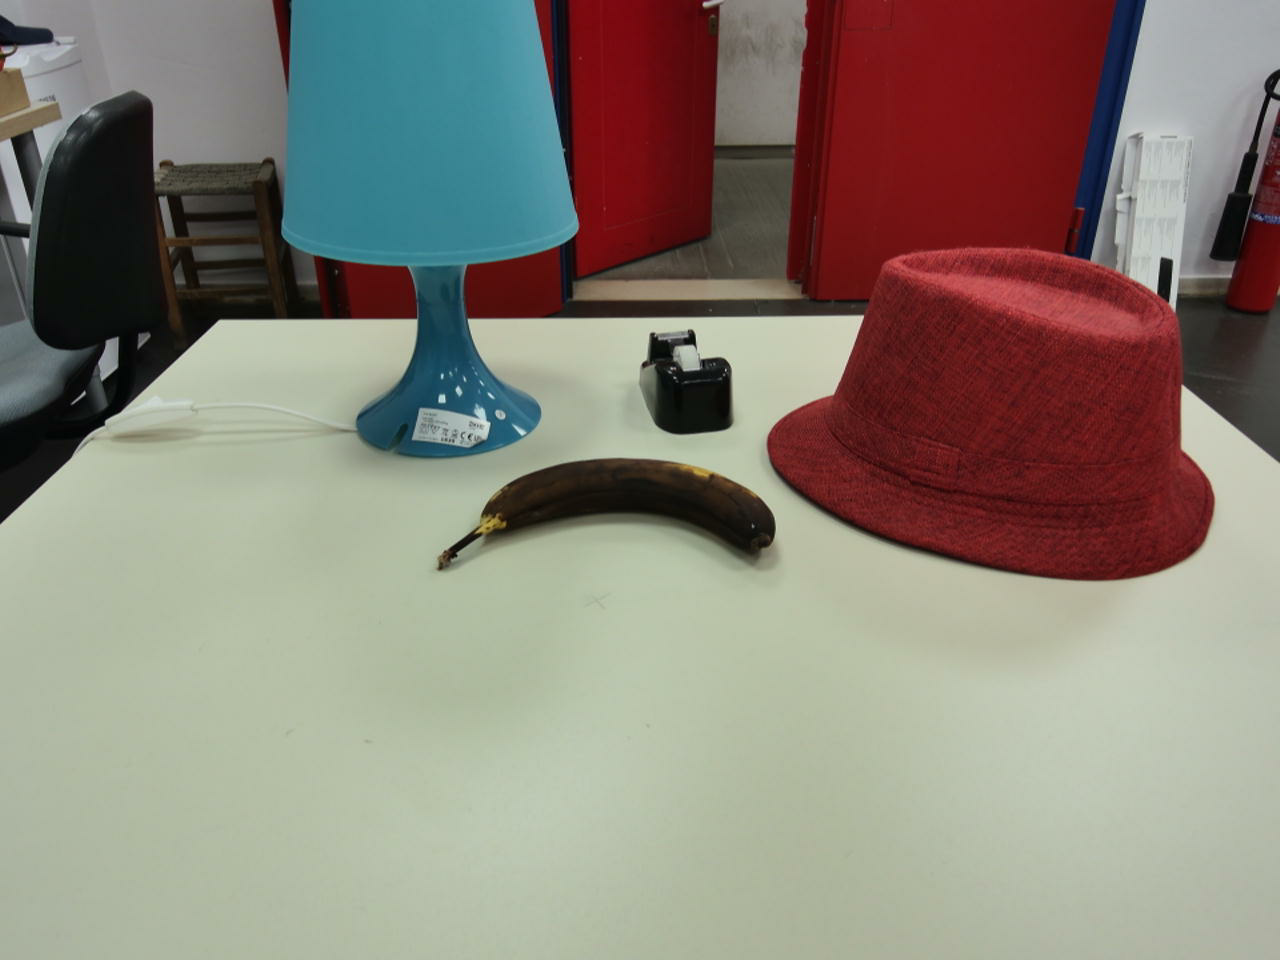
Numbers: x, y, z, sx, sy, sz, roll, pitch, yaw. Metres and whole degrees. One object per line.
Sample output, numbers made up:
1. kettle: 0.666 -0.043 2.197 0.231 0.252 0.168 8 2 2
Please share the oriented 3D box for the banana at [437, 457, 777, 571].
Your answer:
1. banana: -0.018 0.014 0.582 0.188 0.034 0.091 0 27 1
